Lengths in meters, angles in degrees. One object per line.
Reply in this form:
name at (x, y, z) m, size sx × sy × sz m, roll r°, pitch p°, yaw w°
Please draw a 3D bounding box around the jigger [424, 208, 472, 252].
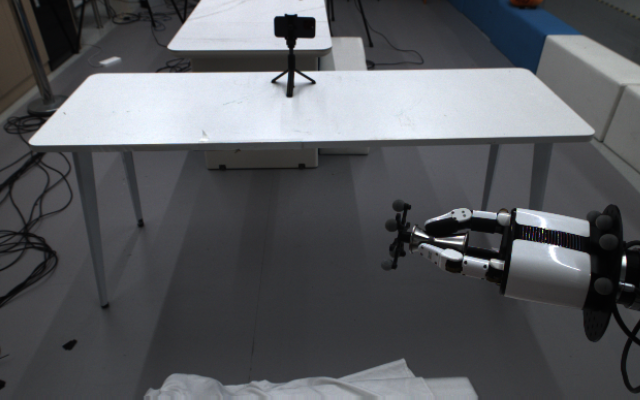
jigger at (0.160, 0.053, 0.625) m, size 0.071 × 0.043 × 0.043 m, roll 10°, pitch 35°, yaw 22°
